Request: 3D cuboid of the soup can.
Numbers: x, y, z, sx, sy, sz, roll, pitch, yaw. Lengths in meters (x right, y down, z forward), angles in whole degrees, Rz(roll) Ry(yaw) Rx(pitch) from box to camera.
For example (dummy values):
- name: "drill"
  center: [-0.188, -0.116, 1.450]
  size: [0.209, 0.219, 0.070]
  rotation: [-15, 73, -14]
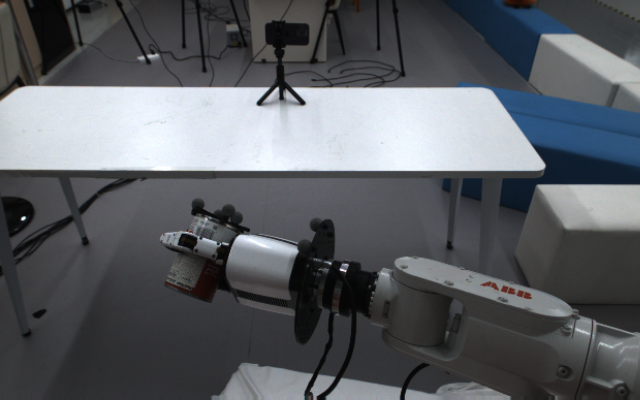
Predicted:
- name: "soup can"
  center: [-0.154, 0.078, 0.642]
  size: [0.067, 0.067, 0.101]
  rotation: [16, 75, 19]
